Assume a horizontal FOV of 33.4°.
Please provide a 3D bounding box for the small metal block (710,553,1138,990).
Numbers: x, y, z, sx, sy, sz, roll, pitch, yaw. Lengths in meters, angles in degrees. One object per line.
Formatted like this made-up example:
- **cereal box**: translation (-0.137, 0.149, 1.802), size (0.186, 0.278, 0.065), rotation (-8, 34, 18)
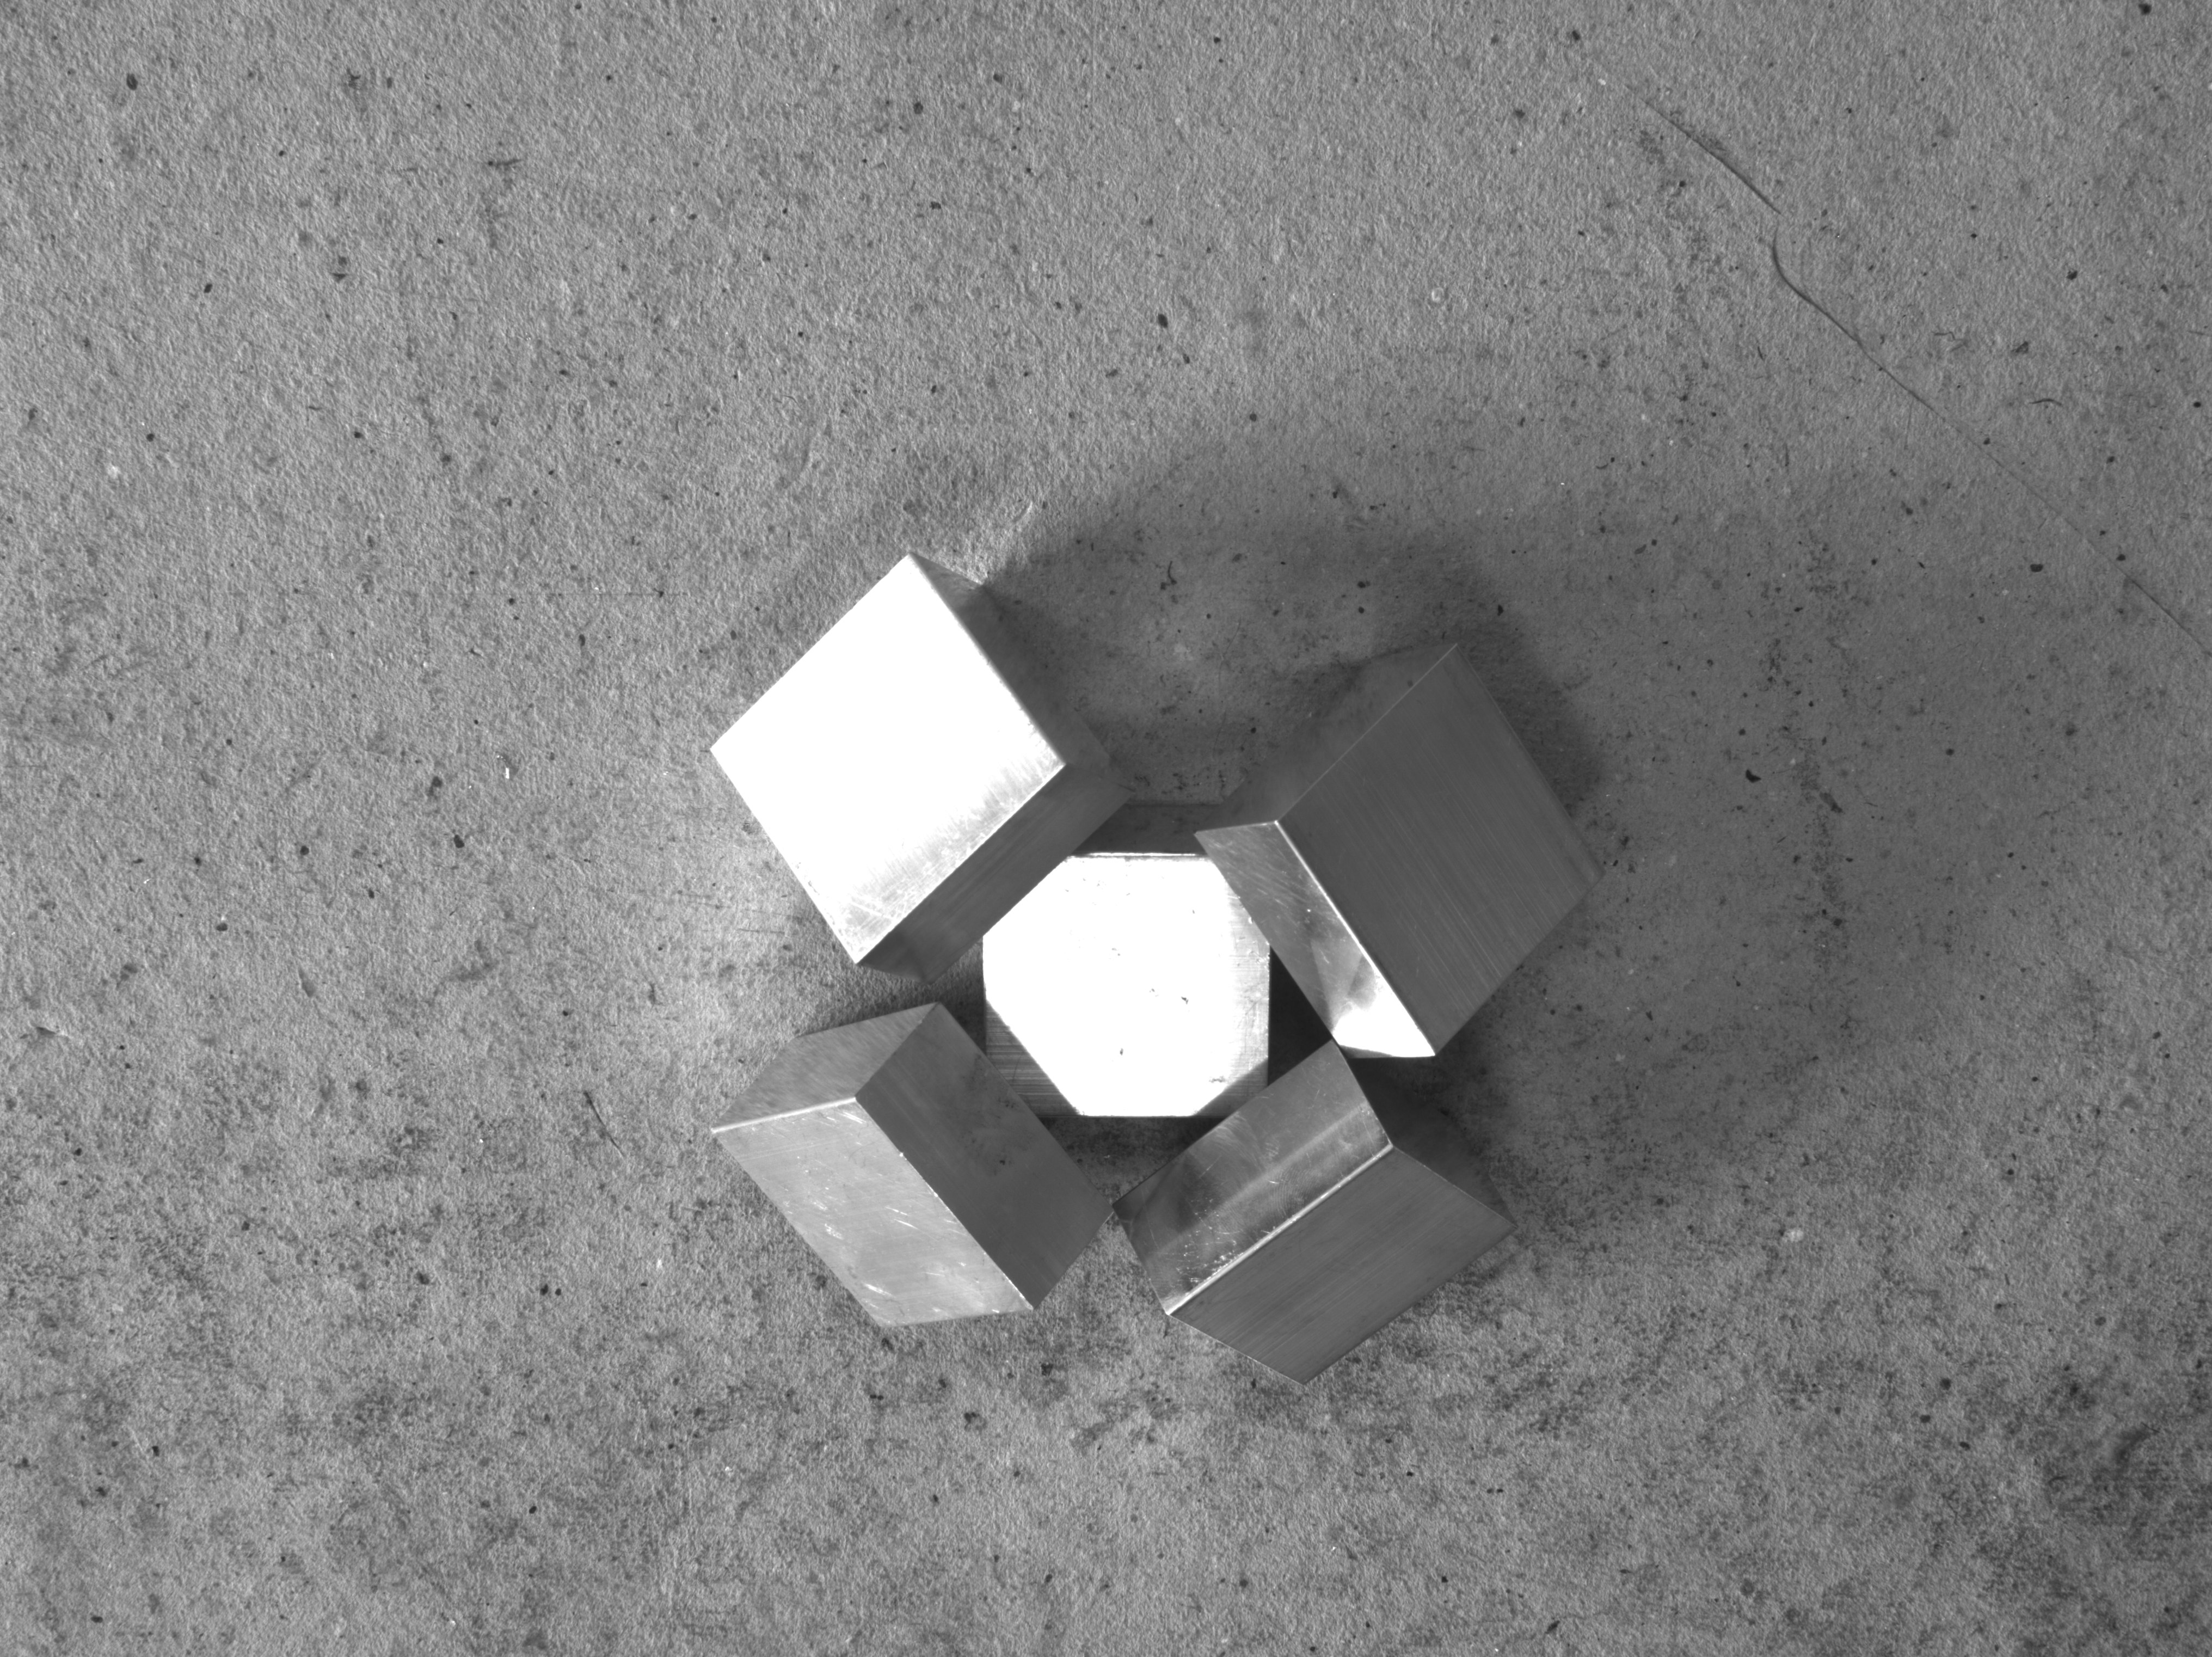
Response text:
- **small metal block**: translation (-0.031, -0.009, 0.627), size (0.050, 0.025, 0.050), rotation (-43, 63, 14)

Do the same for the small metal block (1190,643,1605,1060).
- **small metal block**: translation (0.051, 0.004, 0.633), size (0.050, 0.025, 0.050), rotation (-44, 110, -28)

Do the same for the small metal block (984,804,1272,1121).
- **small metal block**: translation (0.004, 0.024, 0.653), size (0.050, 0.025, 0.050), rotation (-1, 110, -1)

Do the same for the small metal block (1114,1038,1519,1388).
- **small metal block**: translation (0.037, 0.069, 0.656), size (0.050, 0.025, 0.050), rotation (-38, 143, 13)

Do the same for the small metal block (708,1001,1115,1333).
- **small metal block**: translation (-0.035, 0.061, 0.652), size (0.050, 0.025, 0.050), rotation (51, 146, -15)
